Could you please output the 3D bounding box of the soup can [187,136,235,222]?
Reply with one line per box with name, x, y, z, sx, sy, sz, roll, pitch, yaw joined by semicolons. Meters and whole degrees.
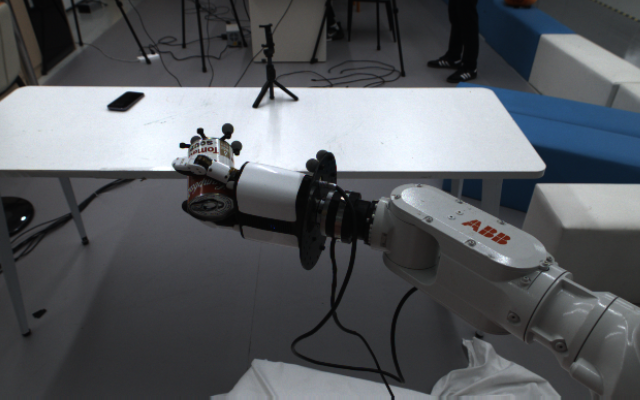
soup can;-0.154;-0.029;0.688;0.067;0.067;0.101;-5;57;-10
